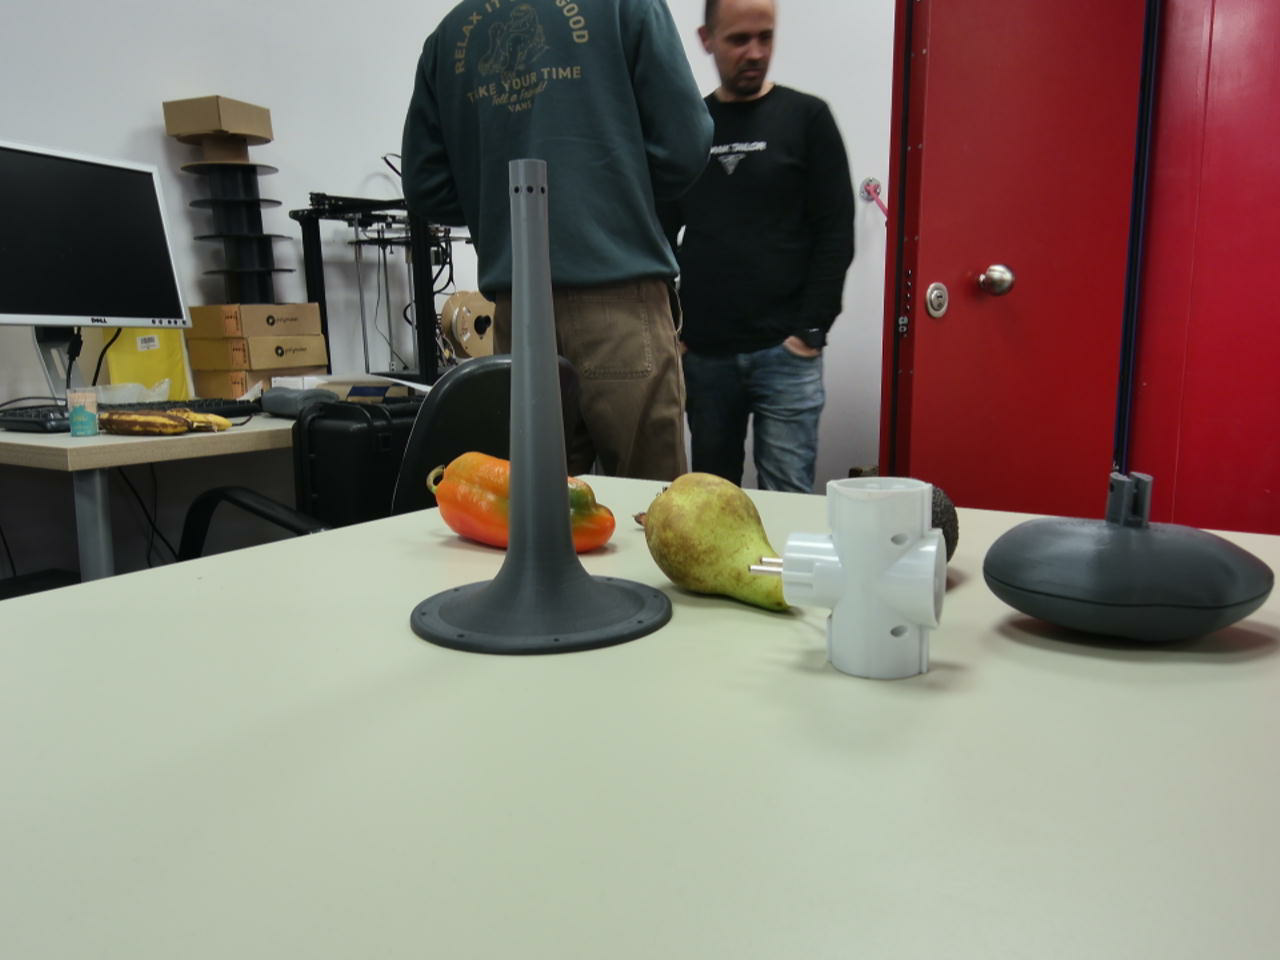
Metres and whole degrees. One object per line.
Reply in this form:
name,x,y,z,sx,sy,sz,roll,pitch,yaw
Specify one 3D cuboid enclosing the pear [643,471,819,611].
pear,0.065,0.036,0.606,0.144,0.075,0.071,7,10,42
